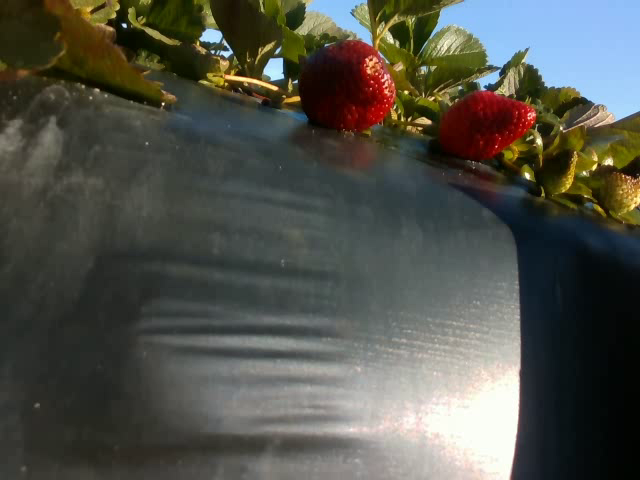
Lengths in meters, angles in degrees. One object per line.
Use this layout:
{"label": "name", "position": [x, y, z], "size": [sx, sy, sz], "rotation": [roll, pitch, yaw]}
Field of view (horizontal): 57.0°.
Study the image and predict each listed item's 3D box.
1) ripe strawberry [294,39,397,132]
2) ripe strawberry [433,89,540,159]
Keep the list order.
{"label": "ripe strawberry", "position": [0.012, -0.068, 0.247], "size": [0.050, 0.045, 0.050], "rotation": [29, -12, -8]}
{"label": "ripe strawberry", "position": [0.079, -0.053, 0.273], "size": [0.042, 0.039, 0.049], "rotation": [-32, 15, -31]}
